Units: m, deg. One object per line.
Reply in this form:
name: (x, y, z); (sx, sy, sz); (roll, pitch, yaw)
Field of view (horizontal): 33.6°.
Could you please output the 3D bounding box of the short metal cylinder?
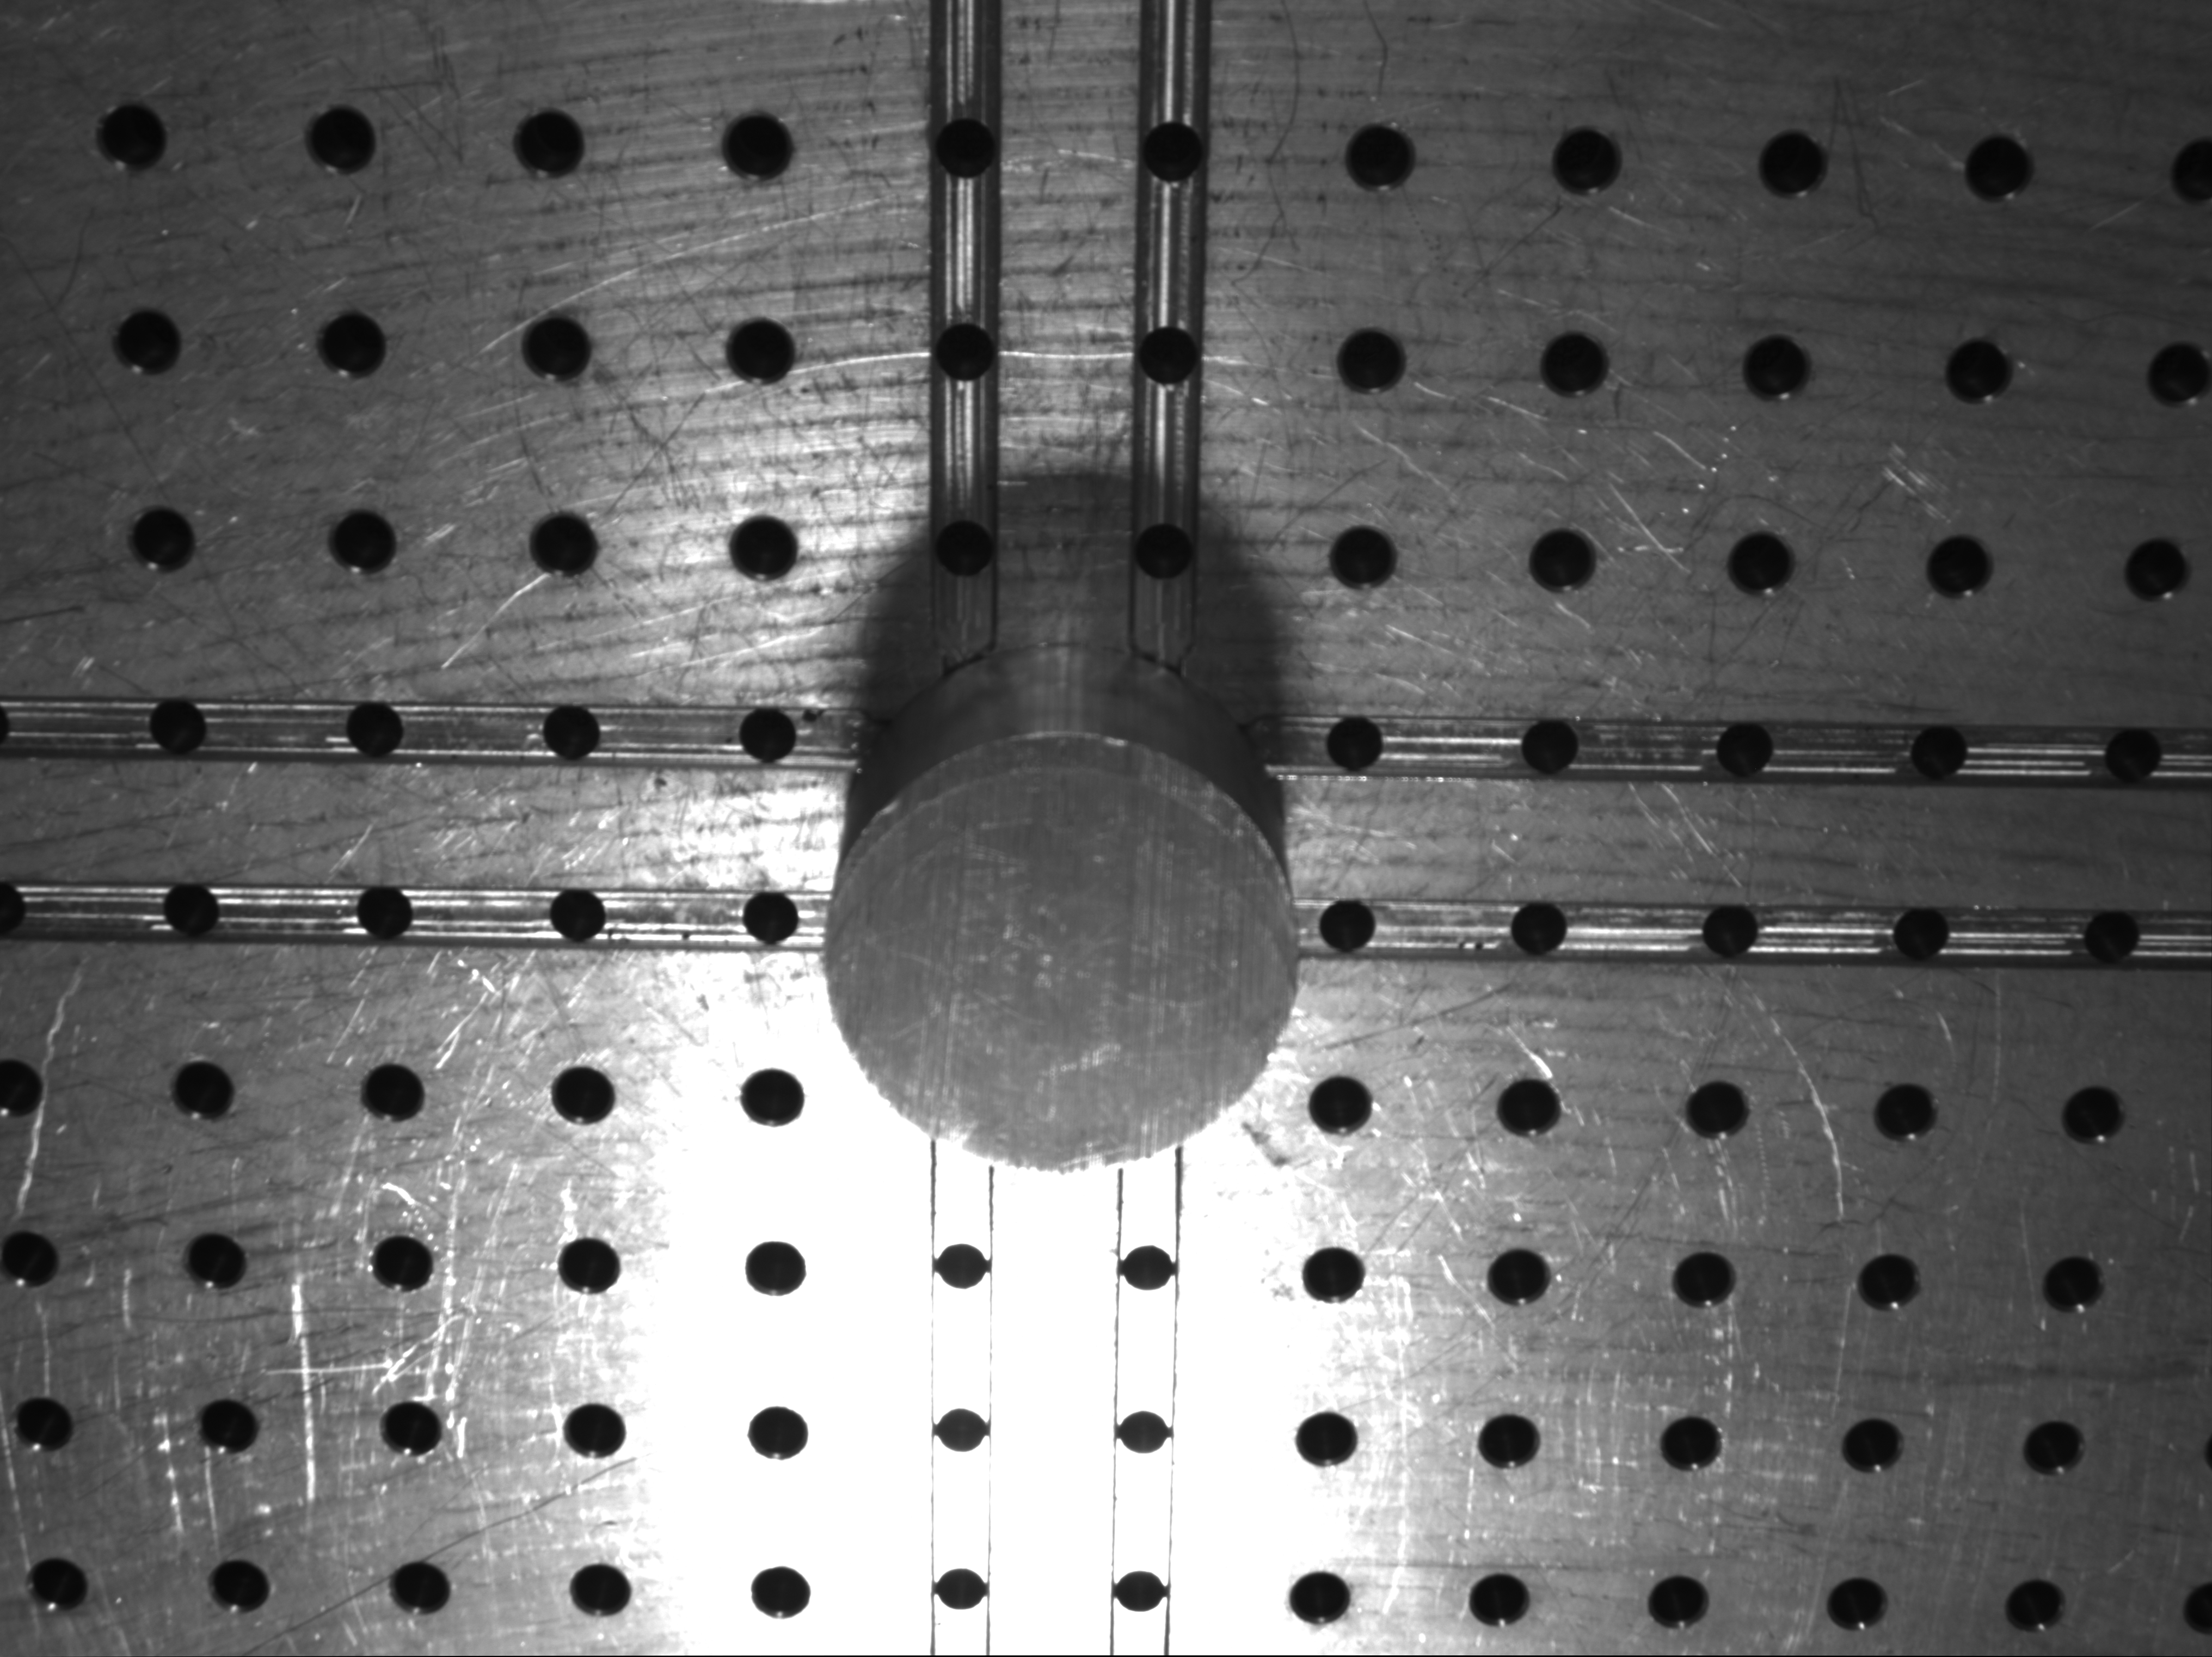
short metal cylinder: (-0.009, 0.014, 0.637); (0.080, 0.050, 0.080); (0, 110, -1)
